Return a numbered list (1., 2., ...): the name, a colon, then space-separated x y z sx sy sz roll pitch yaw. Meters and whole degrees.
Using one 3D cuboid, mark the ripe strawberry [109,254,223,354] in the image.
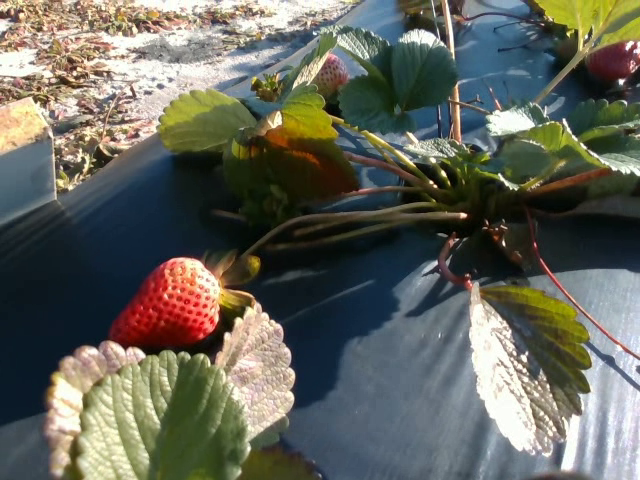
1. ripe strawberry: -0.067 0.028 0.253 0.063 0.044 0.044 -35 2 -44
